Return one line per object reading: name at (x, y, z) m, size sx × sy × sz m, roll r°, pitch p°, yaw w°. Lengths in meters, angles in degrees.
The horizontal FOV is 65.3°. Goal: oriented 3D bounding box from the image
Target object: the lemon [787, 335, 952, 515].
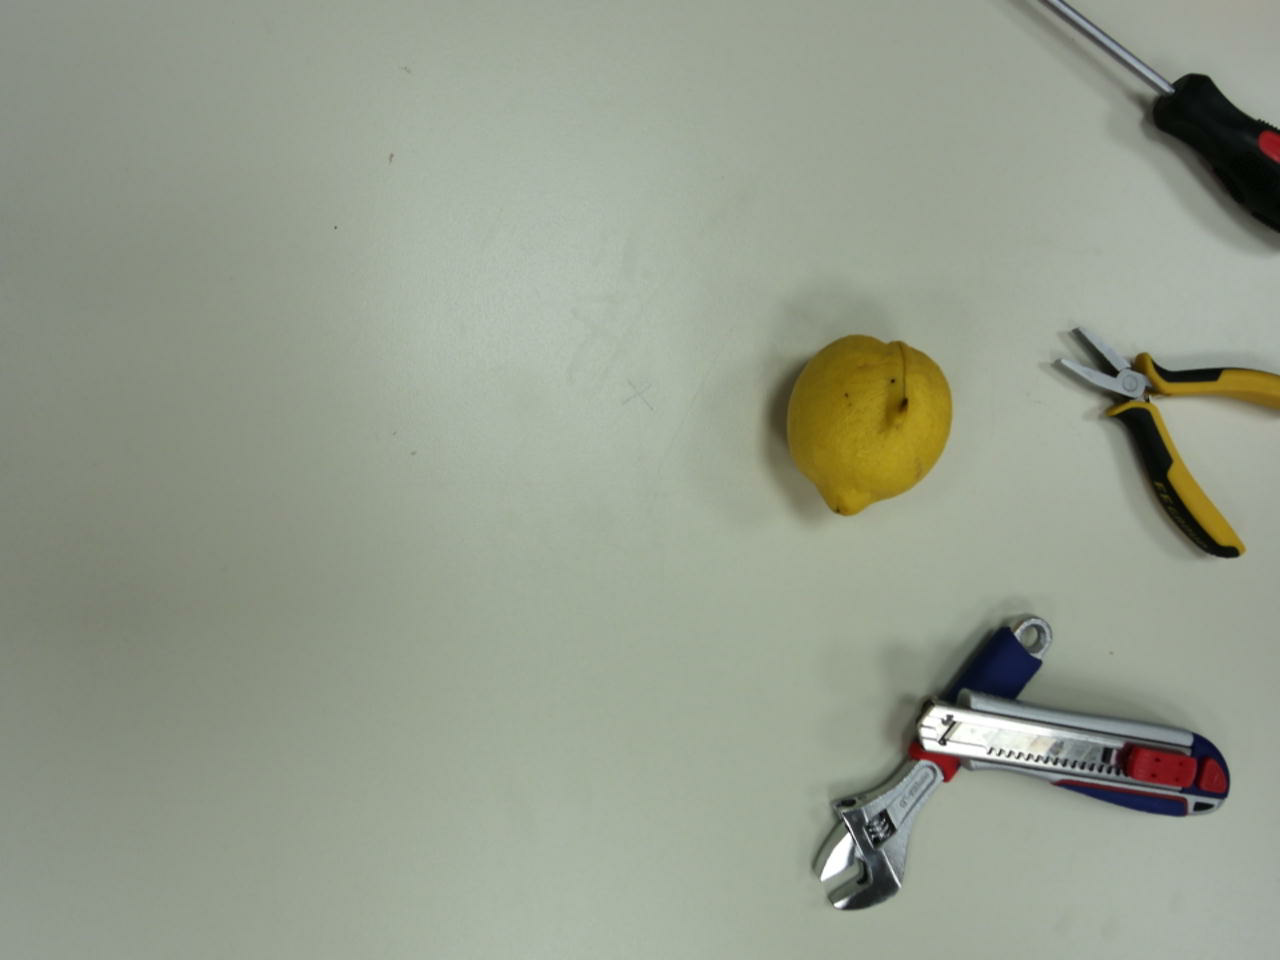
lemon at (0.097, -0.027, 0.423) m, size 0.071 × 0.071 × 0.070 m, roll -34°, pitch 97°, yaw -9°
